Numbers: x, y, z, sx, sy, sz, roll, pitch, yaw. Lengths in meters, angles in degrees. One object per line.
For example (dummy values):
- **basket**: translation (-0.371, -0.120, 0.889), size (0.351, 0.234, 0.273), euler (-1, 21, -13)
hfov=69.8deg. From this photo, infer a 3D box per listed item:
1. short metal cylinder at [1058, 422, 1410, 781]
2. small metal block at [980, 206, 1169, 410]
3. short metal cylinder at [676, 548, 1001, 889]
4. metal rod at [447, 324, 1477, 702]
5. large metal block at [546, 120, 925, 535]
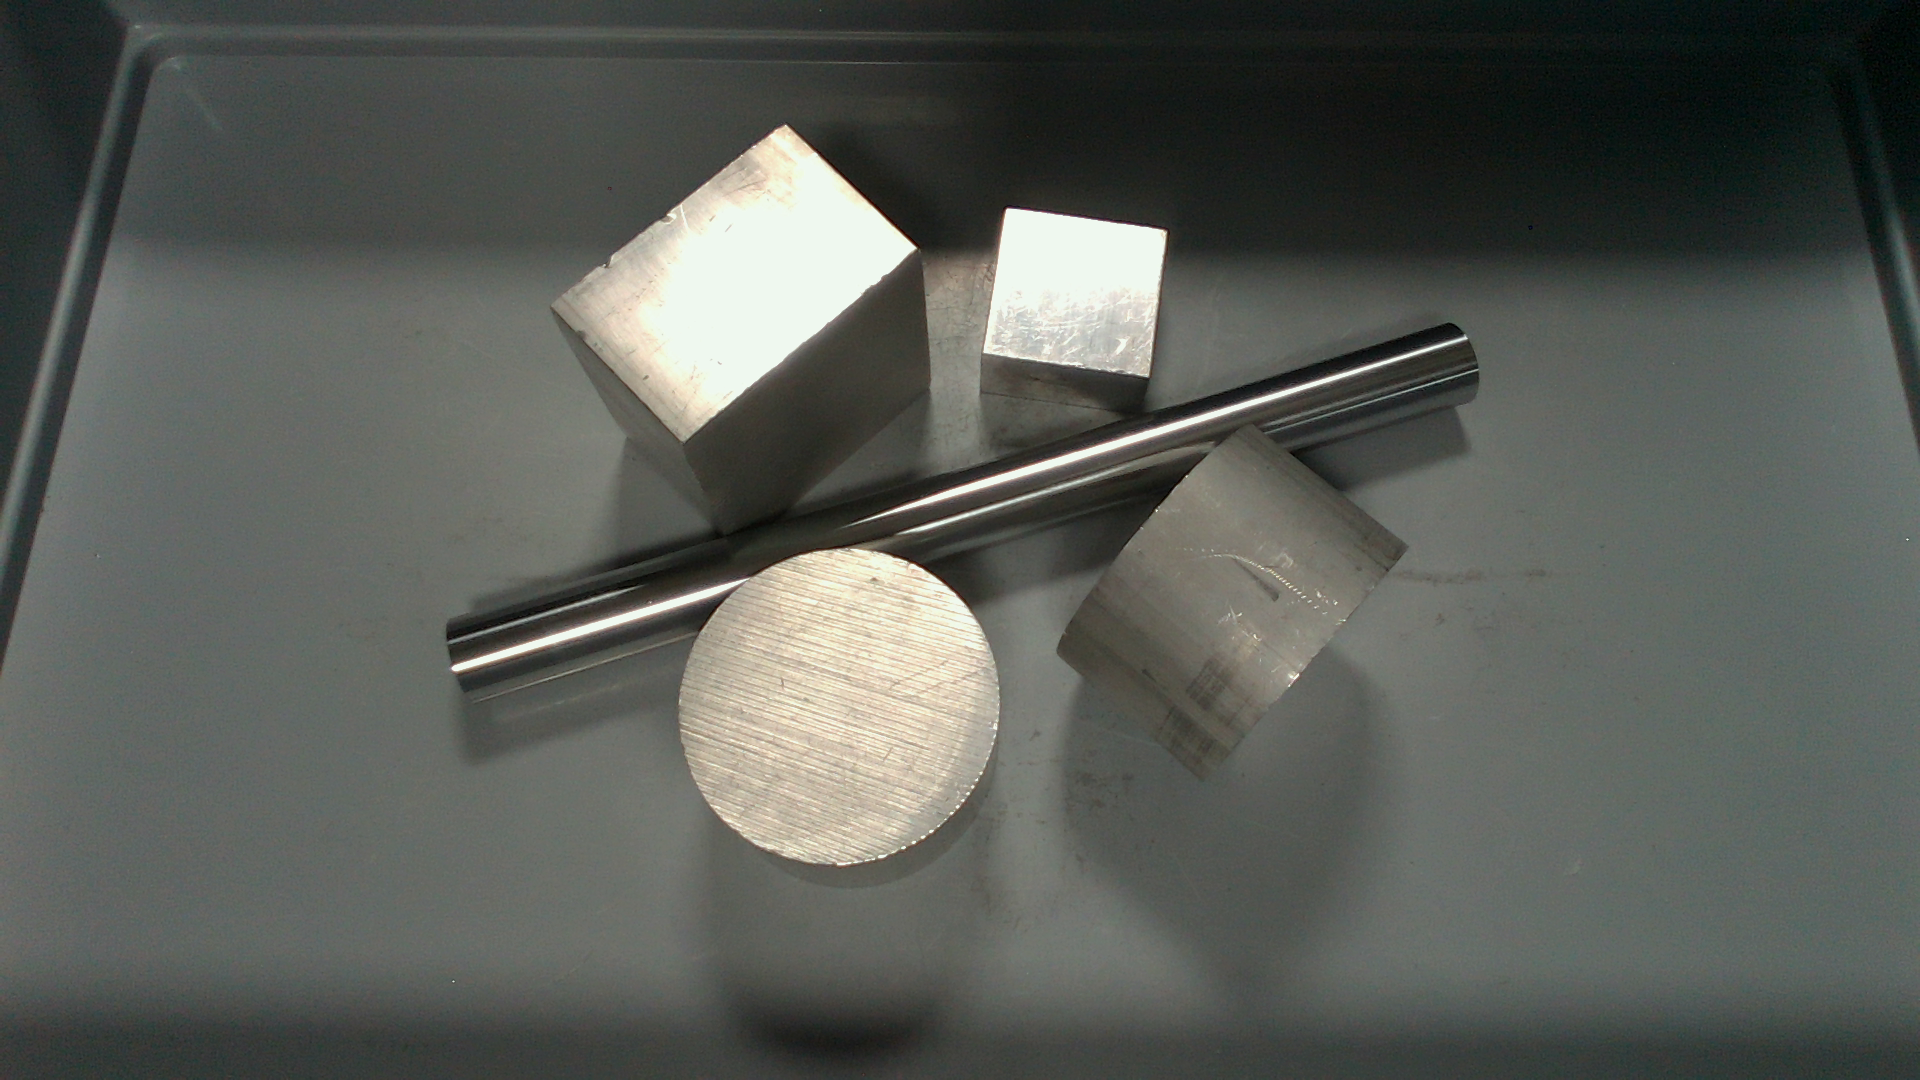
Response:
- **short metal cylinder**: translation (0.070, 0.016, 0.359), size (0.050, 0.080, 0.080), euler (41, 75, 14)
- **small metal block**: translation (0.035, -0.070, 0.419), size (0.050, 0.025, 0.050), euler (8, 70, 3)
- **short metal cylinder**: translation (-0.030, 0.048, 0.362), size (0.080, 0.050, 0.080), euler (0, 70, 0)
- **metal rod**: translation (0.006, -0.010, 0.397), size (0.300, 0.025, 0.025), euler (-17, 71, -6)
- **large metal block**: translation (-0.057, -0.054, 0.385), size (0.080, 0.080, 0.050), euler (-42, 75, -14)
